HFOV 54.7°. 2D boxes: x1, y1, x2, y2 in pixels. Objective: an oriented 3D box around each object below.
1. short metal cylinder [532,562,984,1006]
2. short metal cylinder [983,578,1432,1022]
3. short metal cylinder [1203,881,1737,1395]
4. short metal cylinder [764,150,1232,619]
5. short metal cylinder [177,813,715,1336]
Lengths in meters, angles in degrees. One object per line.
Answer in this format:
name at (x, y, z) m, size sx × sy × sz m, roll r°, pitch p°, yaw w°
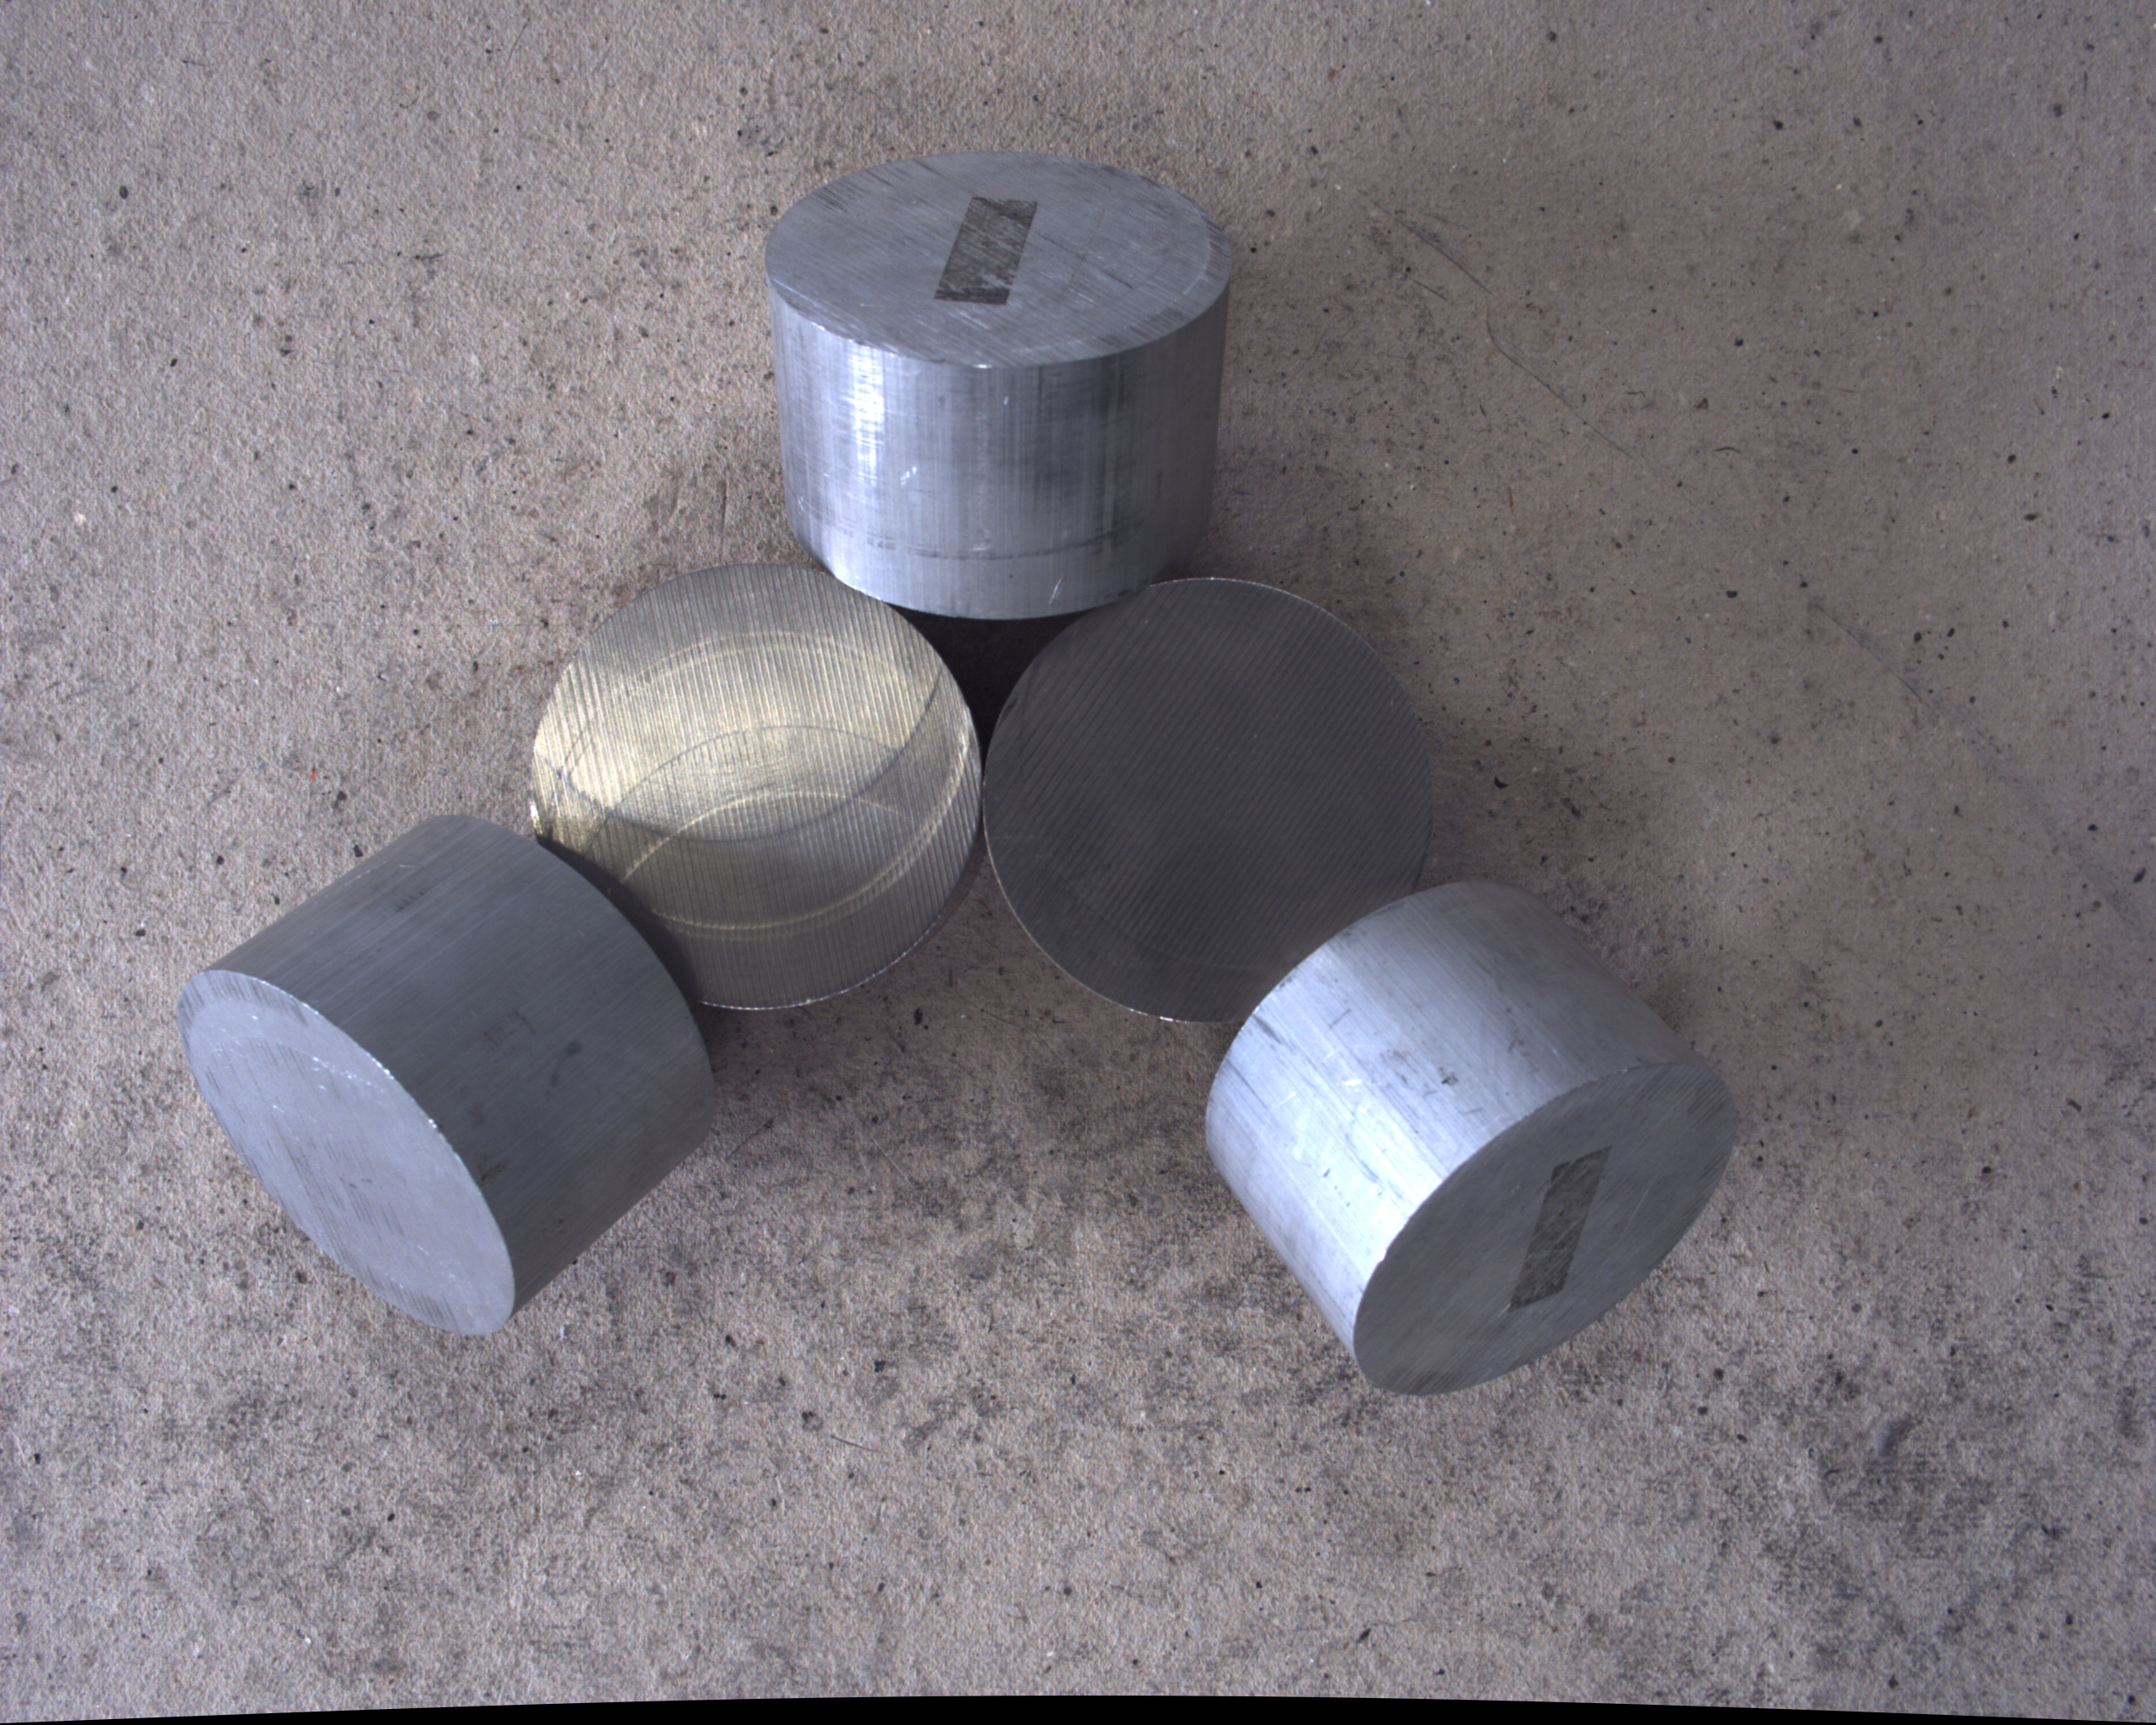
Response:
short metal cylinder at (-0.057, -0.014, 0.398) m, size 0.081 × 0.050 × 0.080 m, roll 0°, pitch 90°, yaw 0°
short metal cylinder at (0.023, -0.011, 0.398) m, size 0.081 × 0.050 × 0.080 m, roll 0°, pitch 90°, yaw 0°
short metal cylinder at (0.070, 0.050, 0.378) m, size 0.080 × 0.080 × 0.050 m, roll -37°, pitch 49°, yaw 0°
short metal cylinder at (-0.014, -0.088, 0.377) m, size 0.081 × 0.080 × 0.050 m, roll 2°, pitch 133°, yaw 0°
short metal cylinder at (-0.113, 0.038, 0.376) m, size 0.080 × 0.080 × 0.050 m, roll 46°, pitch 50°, yaw 0°
